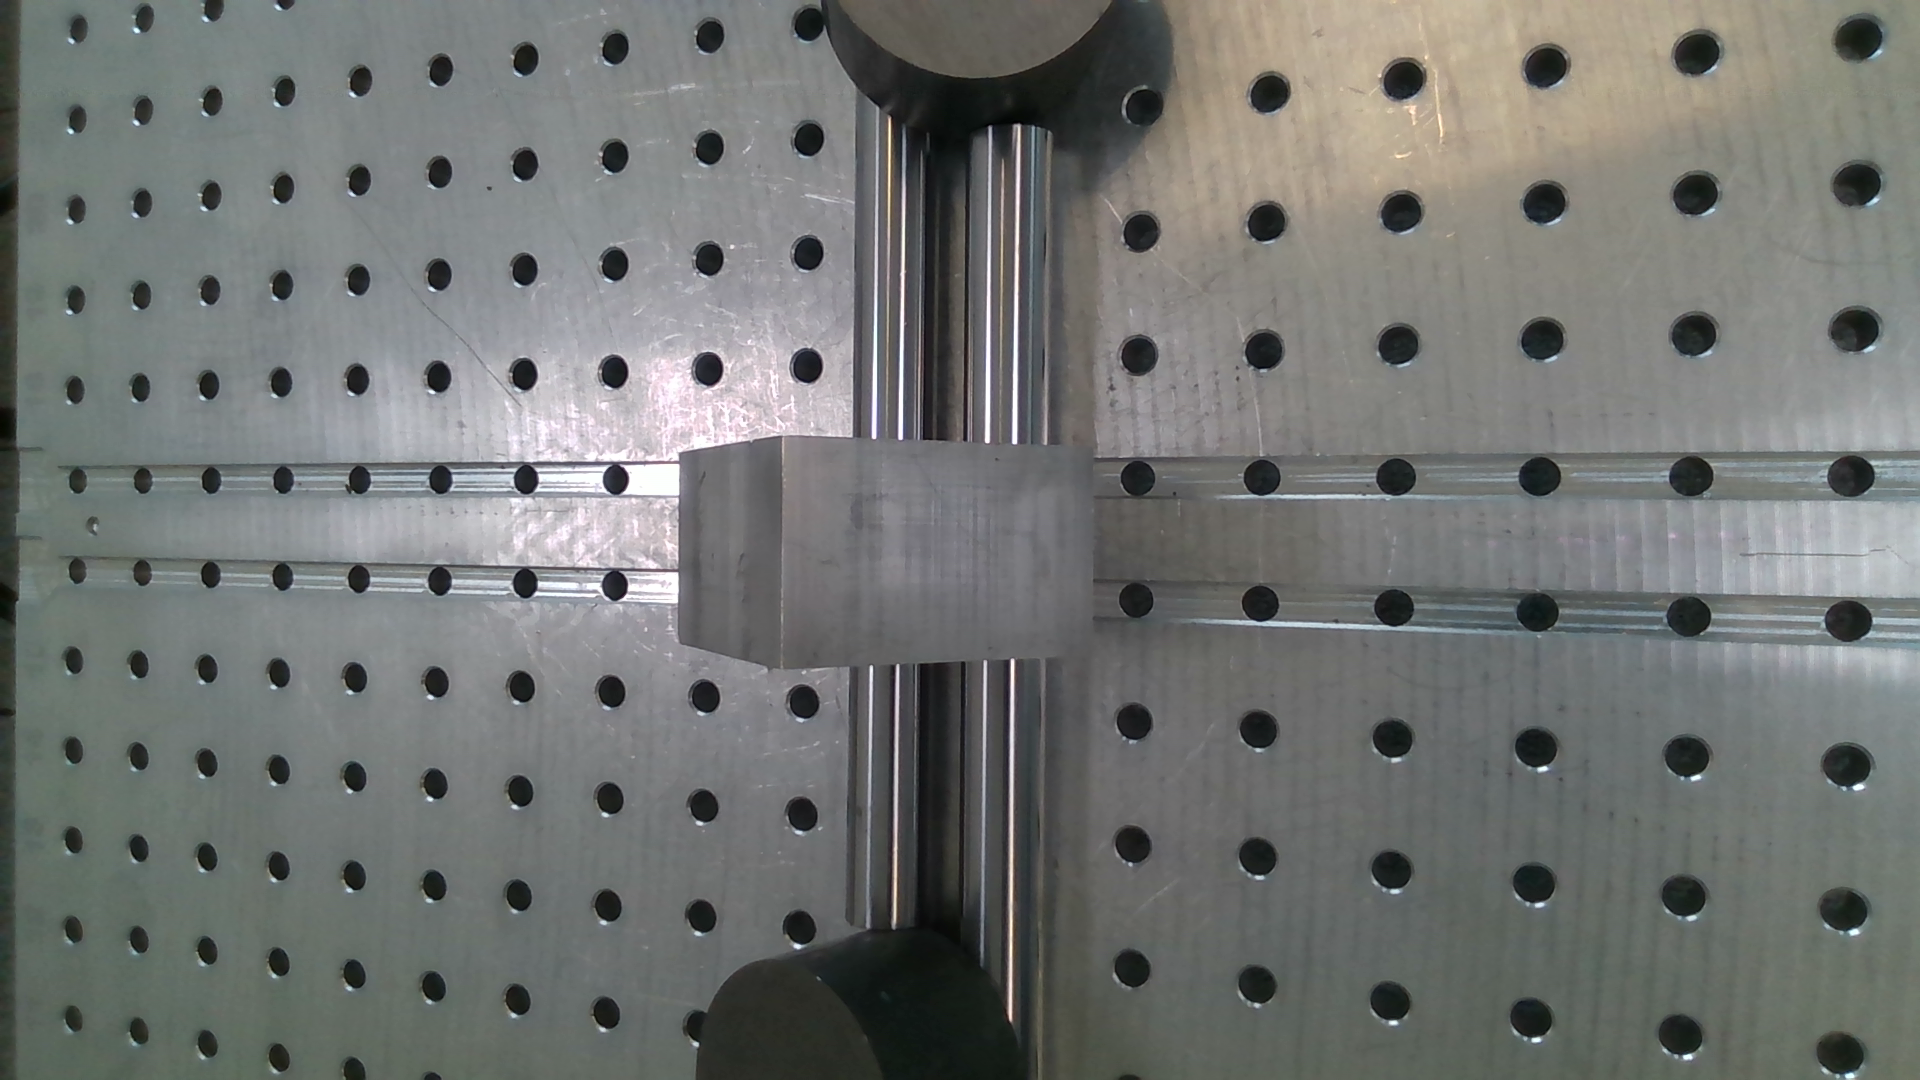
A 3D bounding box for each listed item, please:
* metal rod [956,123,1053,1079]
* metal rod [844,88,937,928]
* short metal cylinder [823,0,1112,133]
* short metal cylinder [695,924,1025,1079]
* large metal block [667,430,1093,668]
[{"bbox_3d":[0.012,0.035,0.392,0.025,0.025,0.300,1,91,20],"label":"metal rod"},{"bbox_3d":[-0.020,-0.039,0.403,0.025,0.025,0.300,1,91,20],"label":"metal rod"},{"bbox_3d":[0.002,-0.155,0.366,0.080,0.050,0.080,0,91,-3],"label":"short metal cylinder"},{"bbox_3d":[-0.029,0.151,0.381,0.080,0.050,0.080,0,89,42],"label":"short metal cylinder"},{"bbox_3d":[-0.023,0.002,0.344,0.080,0.080,0.050,1,91,62],"label":"large metal block"}]
